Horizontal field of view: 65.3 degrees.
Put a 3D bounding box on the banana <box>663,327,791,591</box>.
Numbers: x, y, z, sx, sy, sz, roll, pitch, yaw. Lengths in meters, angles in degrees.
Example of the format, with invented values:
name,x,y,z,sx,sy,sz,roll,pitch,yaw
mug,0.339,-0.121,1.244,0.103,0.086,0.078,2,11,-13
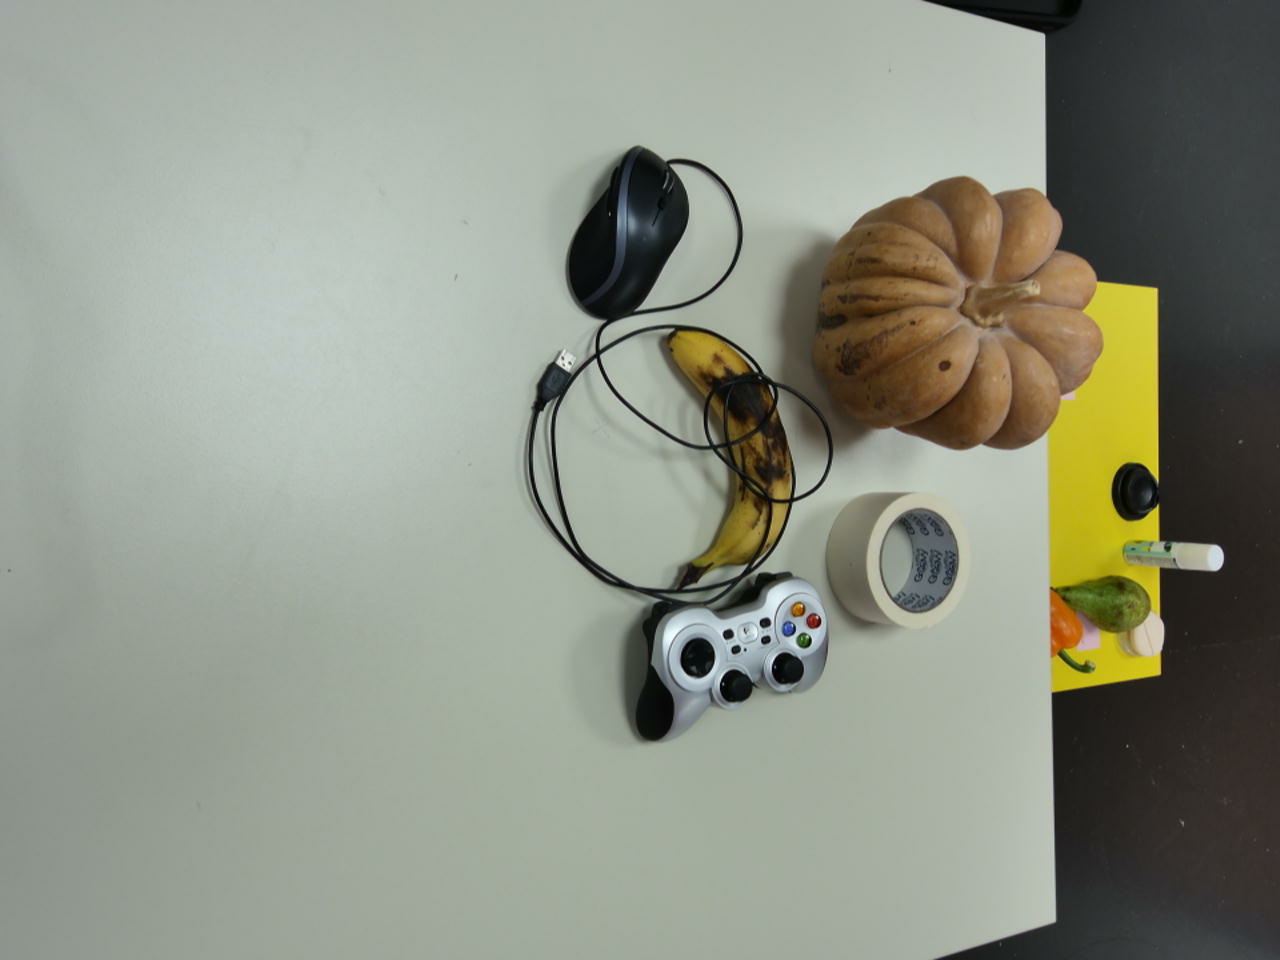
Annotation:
name,x,y,z,sx,sy,sz,roll,pitch,yaw
banana,0.065,-0.017,0.720,0.094,0.039,0.187,-2,91,-28
